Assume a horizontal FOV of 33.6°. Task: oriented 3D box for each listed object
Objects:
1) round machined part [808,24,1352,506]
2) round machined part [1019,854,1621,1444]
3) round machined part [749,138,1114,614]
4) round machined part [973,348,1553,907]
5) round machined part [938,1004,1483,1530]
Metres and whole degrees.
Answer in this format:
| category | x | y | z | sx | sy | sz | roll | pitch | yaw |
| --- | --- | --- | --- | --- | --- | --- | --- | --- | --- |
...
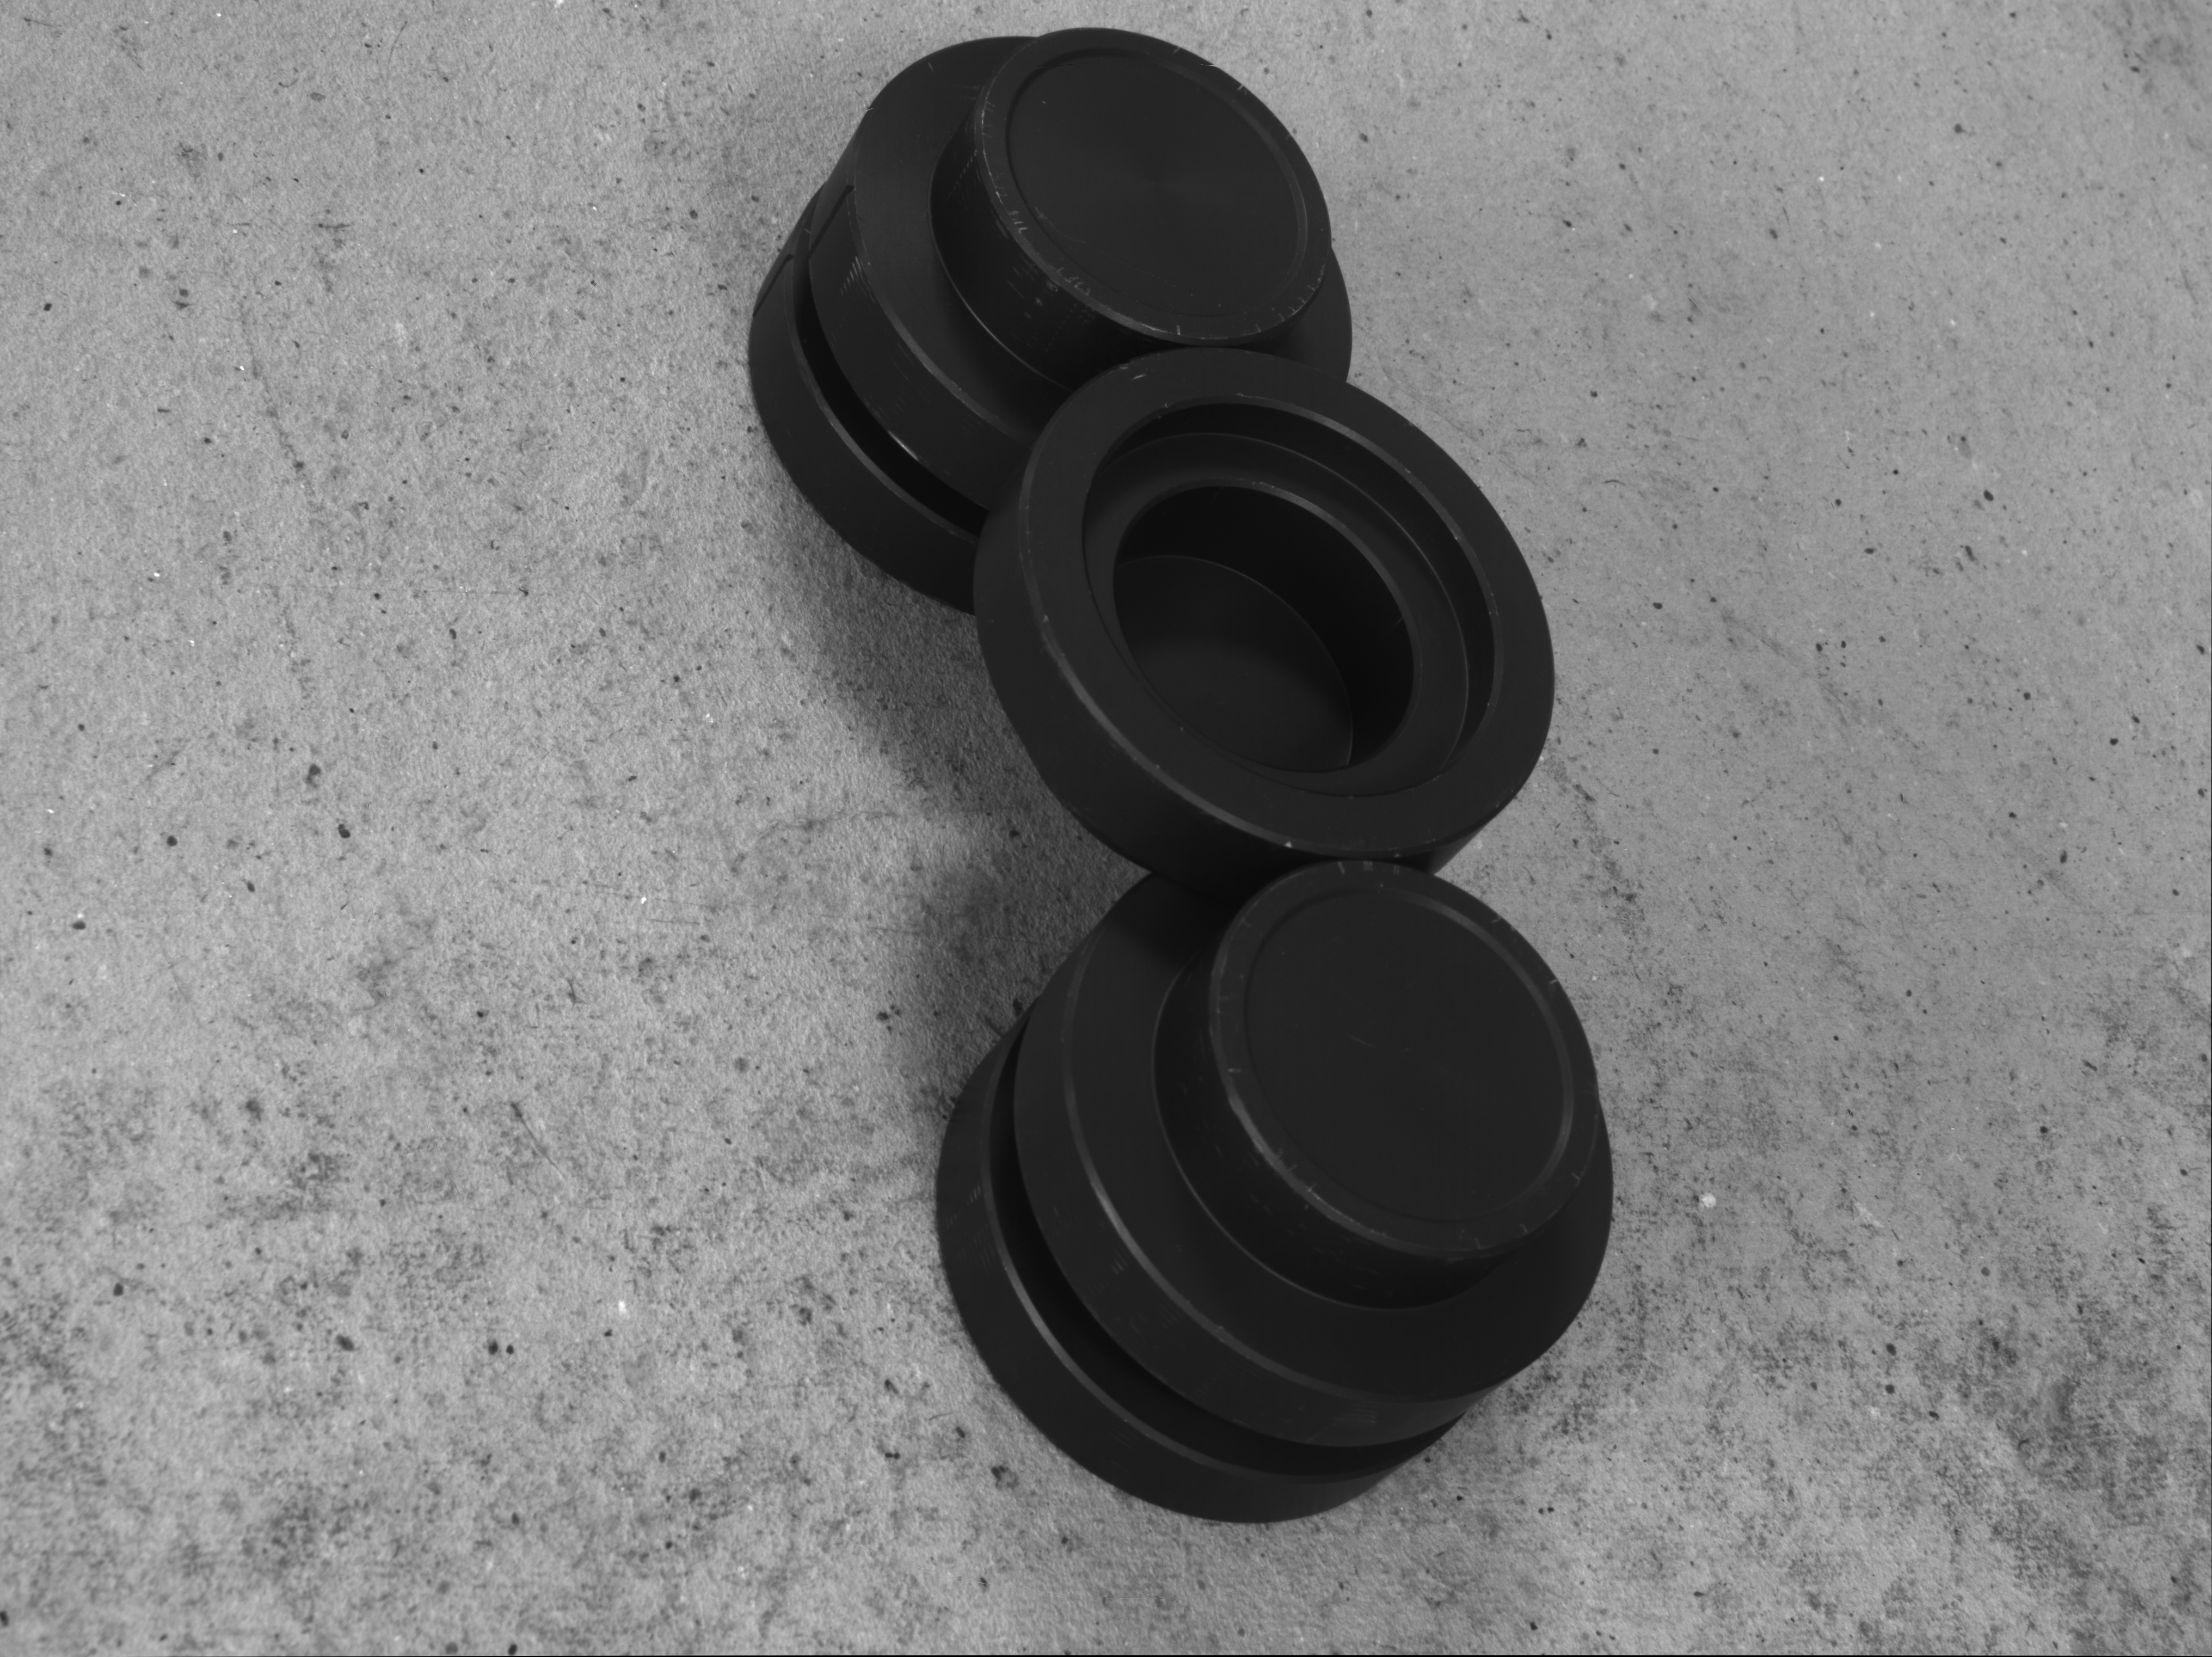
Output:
| category | x | y | z | sx | sy | sz | roll | pitch | yaw |
| --- | --- | --- | --- | --- | --- | --- | --- | --- | --- |
| round machined part | 0.000 | -0.102 | 0.649 | 0.098 | 0.042 | 0.098 | 13 | 57 | -20 |
| round machined part | 0.039 | 0.044 | 0.579 | 0.098 | 0.042 | 0.098 | 13 | 57 | -20 |
| round machined part | -0.013 | -0.089 | 0.675 | 0.098 | 0.042 | 0.098 | 12 | 57 | -19 |
| round machined part | 0.022 | -0.029 | 0.617 | 0.098 | 0.042 | 0.098 | 14 | 56 | -21 |
| round machined part | 0.025 | 0.062 | 0.605 | 0.098 | 0.042 | 0.098 | 13 | 55 | -19 |
